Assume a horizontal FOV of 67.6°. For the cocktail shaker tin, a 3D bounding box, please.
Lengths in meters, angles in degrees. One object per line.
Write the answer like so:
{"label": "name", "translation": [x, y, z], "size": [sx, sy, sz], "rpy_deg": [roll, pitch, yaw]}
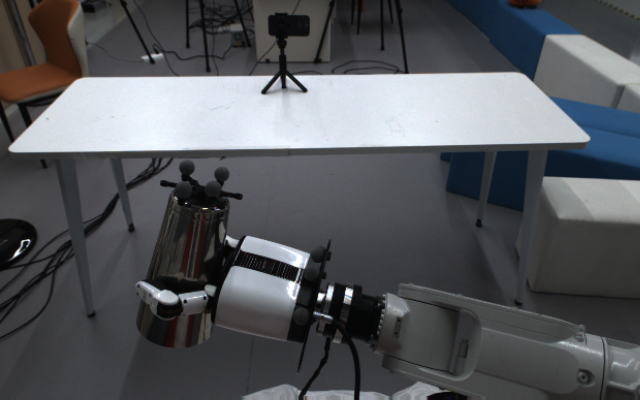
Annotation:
{"label": "cocktail shaker tin", "translation": [-0.152, 0.074, 0.563], "size": [0.093, 0.170, 0.093], "rpy_deg": [15, 20, -5]}
